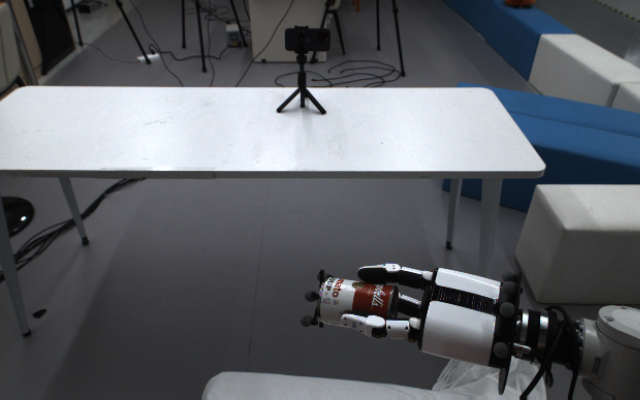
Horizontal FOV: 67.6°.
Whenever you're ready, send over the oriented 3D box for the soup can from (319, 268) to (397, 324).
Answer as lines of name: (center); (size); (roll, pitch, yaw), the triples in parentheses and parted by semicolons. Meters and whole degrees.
soup can: (0.058, 0.148, 0.684); (0.101, 0.067, 0.067); (4, 34, 18)
